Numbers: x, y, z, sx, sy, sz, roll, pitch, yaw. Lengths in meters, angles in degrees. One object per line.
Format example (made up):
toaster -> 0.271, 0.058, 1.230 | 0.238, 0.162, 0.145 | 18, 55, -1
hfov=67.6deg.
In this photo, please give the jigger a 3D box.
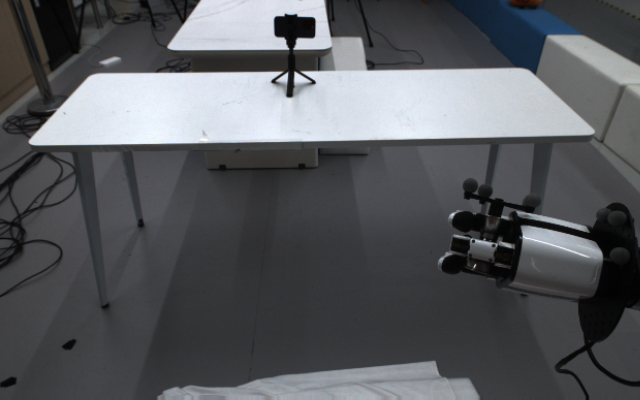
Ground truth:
jigger -> 0.203, 0.052, 0.581 | 0.043, 0.071, 0.043 | 14, 1, 0
